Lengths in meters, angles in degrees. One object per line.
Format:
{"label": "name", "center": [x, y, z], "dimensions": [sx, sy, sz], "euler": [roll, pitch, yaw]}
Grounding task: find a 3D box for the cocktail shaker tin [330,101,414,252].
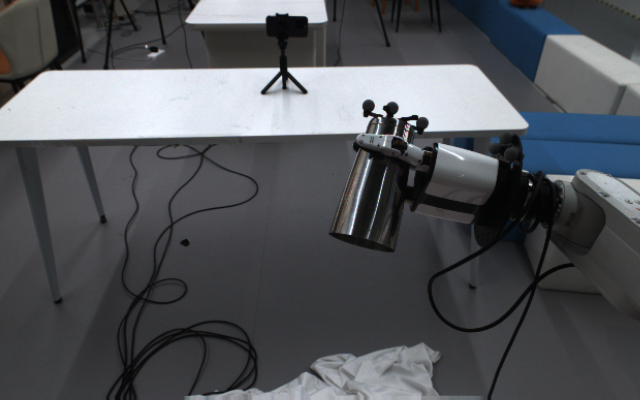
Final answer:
{"label": "cocktail shaker tin", "center": [0.081, -0.026, 0.662], "dimensions": [0.093, 0.093, 0.170], "euler": [13, 79, 15]}
